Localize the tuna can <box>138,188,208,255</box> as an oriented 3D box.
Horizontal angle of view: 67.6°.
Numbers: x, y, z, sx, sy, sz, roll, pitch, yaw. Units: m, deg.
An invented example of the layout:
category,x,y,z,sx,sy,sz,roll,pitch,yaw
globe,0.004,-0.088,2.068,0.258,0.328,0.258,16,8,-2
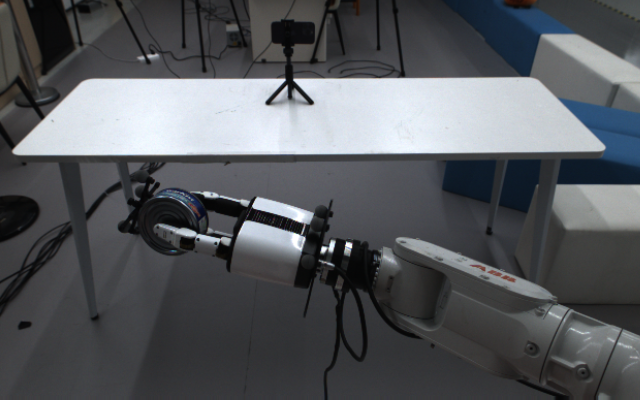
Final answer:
category,x,y,z,sx,sy,sz,roll,pitch,yaw
tuna can,-0.191,0.028,0.634,0.085,0.085,0.034,6,20,6
